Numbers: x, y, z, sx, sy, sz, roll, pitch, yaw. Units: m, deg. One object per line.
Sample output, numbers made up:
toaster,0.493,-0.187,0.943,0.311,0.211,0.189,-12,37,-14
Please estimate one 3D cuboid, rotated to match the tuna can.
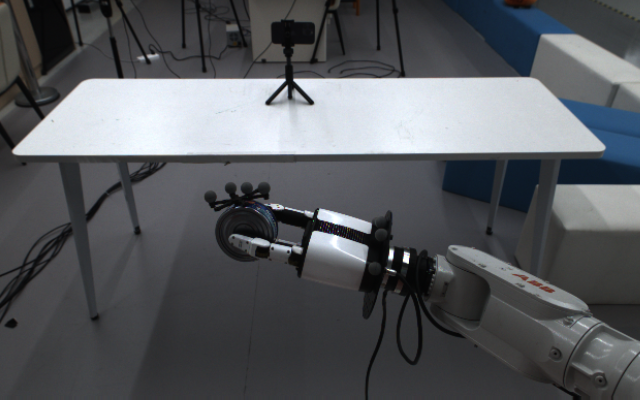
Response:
tuna can,-0.102,0.051,0.689,0.085,0.085,0.034,6,18,5
